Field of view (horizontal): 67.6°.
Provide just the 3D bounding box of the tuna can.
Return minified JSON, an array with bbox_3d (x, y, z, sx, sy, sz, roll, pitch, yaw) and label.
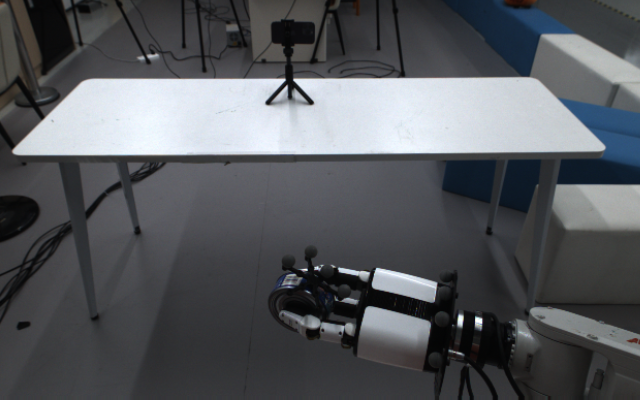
[{"bbox_3d":[-0.022,0.144,0.642,0.085,0.085,0.034,12,35,14],"label":"tuna can"}]
